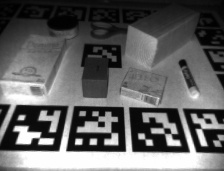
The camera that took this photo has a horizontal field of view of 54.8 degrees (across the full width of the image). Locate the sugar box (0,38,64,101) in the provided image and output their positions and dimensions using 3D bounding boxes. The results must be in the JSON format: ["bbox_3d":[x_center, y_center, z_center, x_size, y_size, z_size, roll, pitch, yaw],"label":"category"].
[{"bbox_3d":[-0.181,-0.046,0.514,0.093,0.045,0.176,6,48,1],"label":"sugar box"}]

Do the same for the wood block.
[{"bbox_3d":[0.137,-0.135,0.588,0.089,0.091,0.208,36,54,28],"label":"wood block"}]

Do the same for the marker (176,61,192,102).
[{"bbox_3d":[0.172,-0.014,0.521,0.019,0.020,0.120,3,50,0],"label":"marker"}]

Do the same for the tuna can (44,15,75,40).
[{"bbox_3d":[-0.153,-0.168,0.629,0.086,0.034,0.085,2,48,-1],"label":"tuna can"}]

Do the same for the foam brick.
[{"bbox_3d":[-0.041,-0.009,0.479,0.053,0.051,0.078,3,48,0],"label":"foam brick"}]

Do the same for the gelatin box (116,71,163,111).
[{"bbox_3d":[0.062,0.010,0.487,0.089,0.030,0.073,16,49,11],"label":"gelatin box"}]

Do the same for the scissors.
[{"bbox_3d":[0.020,-0.161,0.651,0.202,0.016,0.087,6,48,5],"label":"scissors"}]
